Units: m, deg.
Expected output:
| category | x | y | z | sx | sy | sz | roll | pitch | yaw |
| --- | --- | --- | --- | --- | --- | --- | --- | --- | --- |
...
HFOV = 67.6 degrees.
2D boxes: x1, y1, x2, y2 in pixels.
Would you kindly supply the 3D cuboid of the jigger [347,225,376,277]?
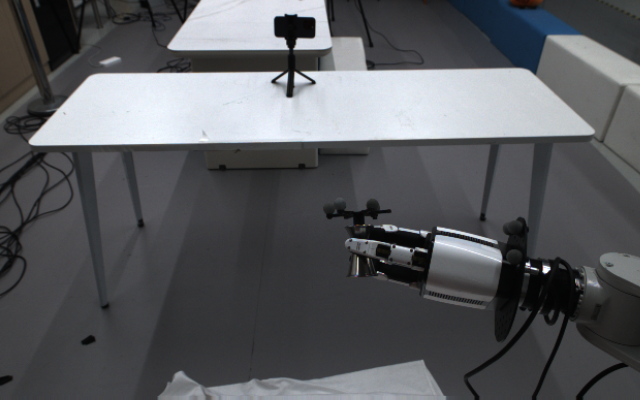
| category | x | y | z | sx | sy | sz | roll | pitch | yaw |
| --- | --- | --- | --- | --- | --- | --- | --- | --- | --- |
| jigger | 0.054 | 0.067 | 0.652 | 0.043 | 0.071 | 0.043 | -2 | -7 | 0 |
